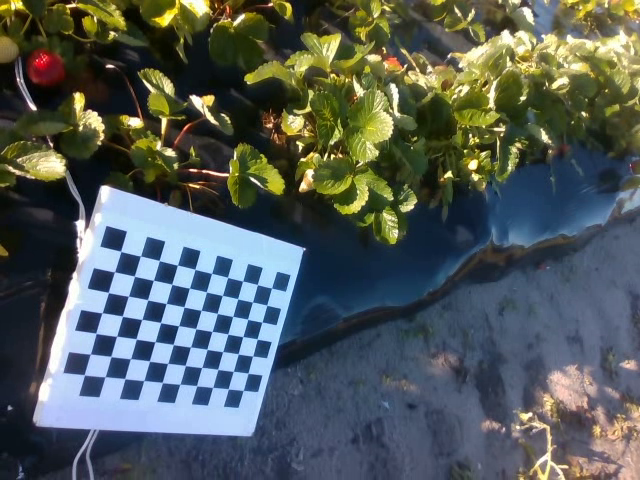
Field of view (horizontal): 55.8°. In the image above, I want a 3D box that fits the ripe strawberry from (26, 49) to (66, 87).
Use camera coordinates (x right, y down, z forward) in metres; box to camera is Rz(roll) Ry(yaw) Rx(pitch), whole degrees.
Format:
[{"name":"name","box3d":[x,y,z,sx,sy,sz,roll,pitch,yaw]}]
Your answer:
[{"name":"ripe strawberry","box3d":[-0.371,-0.236,0.817,0.040,0.063,0.080,-24,35,20]}]
